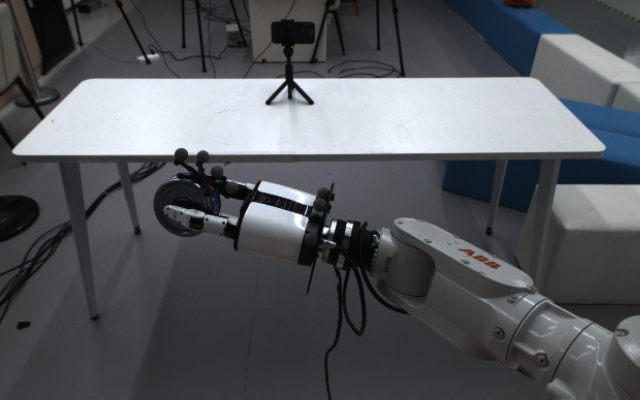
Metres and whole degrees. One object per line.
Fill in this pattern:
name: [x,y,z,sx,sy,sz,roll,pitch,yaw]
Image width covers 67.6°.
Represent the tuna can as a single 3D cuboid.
tuna can: [-0.182,0.007,0.665,0.085,0.085,0.034,6,19,5]
